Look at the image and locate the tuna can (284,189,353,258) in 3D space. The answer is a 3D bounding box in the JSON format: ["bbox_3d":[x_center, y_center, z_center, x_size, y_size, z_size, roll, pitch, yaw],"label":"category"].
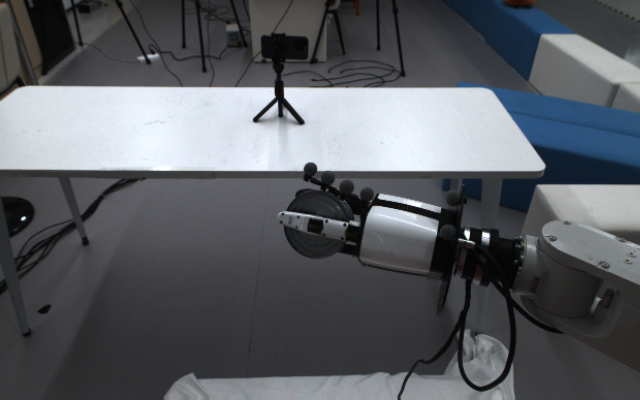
[{"bbox_3d":[0.002,0.029,0.612,0.085,0.085,0.034,13,2,16],"label":"tuna can"}]
